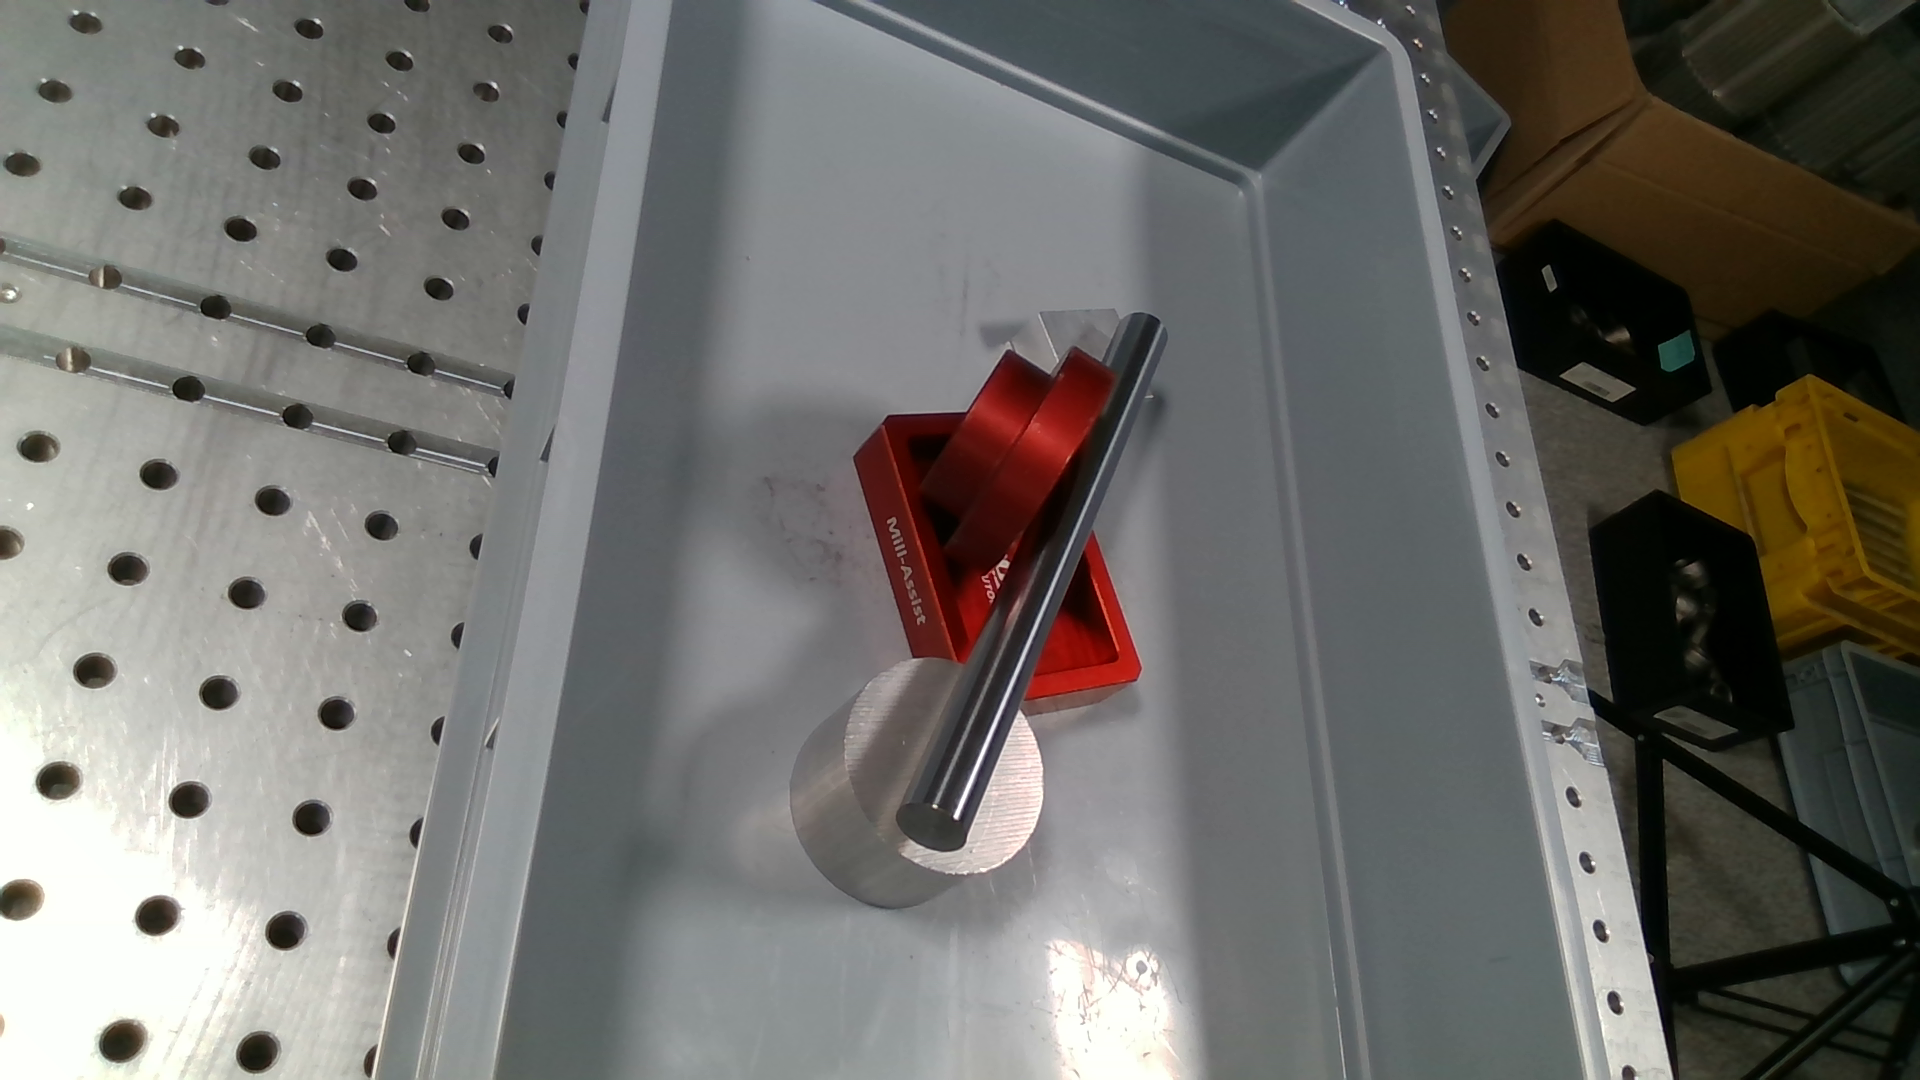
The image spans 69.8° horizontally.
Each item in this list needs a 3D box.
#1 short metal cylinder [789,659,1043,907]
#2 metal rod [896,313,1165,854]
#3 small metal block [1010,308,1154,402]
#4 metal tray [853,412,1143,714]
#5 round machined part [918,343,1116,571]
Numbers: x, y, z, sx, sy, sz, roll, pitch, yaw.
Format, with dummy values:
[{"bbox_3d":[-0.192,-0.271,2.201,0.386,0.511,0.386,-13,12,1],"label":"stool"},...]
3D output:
[{"bbox_3d":[-0.017,0.090,0.510,0.080,0.050,0.080,14,59,-25],"label":"short metal cylinder"},{"bbox_3d":[0.039,-0.001,0.556,0.025,0.025,0.299,36,45,-10],"label":"metal rod"},{"bbox_3d":[0.059,-0.083,0.665,0.050,0.025,0.050,-9,70,-35],"label":"small metal block"},{"bbox_3d":[0.016,0.009,0.585,0.090,0.030,0.130,-6,68,-34],"label":"metal tray"},{"bbox_3d":[0.018,-0.038,0.552,0.042,0.098,0.098,33,52,-3],"label":"round machined part"}]
